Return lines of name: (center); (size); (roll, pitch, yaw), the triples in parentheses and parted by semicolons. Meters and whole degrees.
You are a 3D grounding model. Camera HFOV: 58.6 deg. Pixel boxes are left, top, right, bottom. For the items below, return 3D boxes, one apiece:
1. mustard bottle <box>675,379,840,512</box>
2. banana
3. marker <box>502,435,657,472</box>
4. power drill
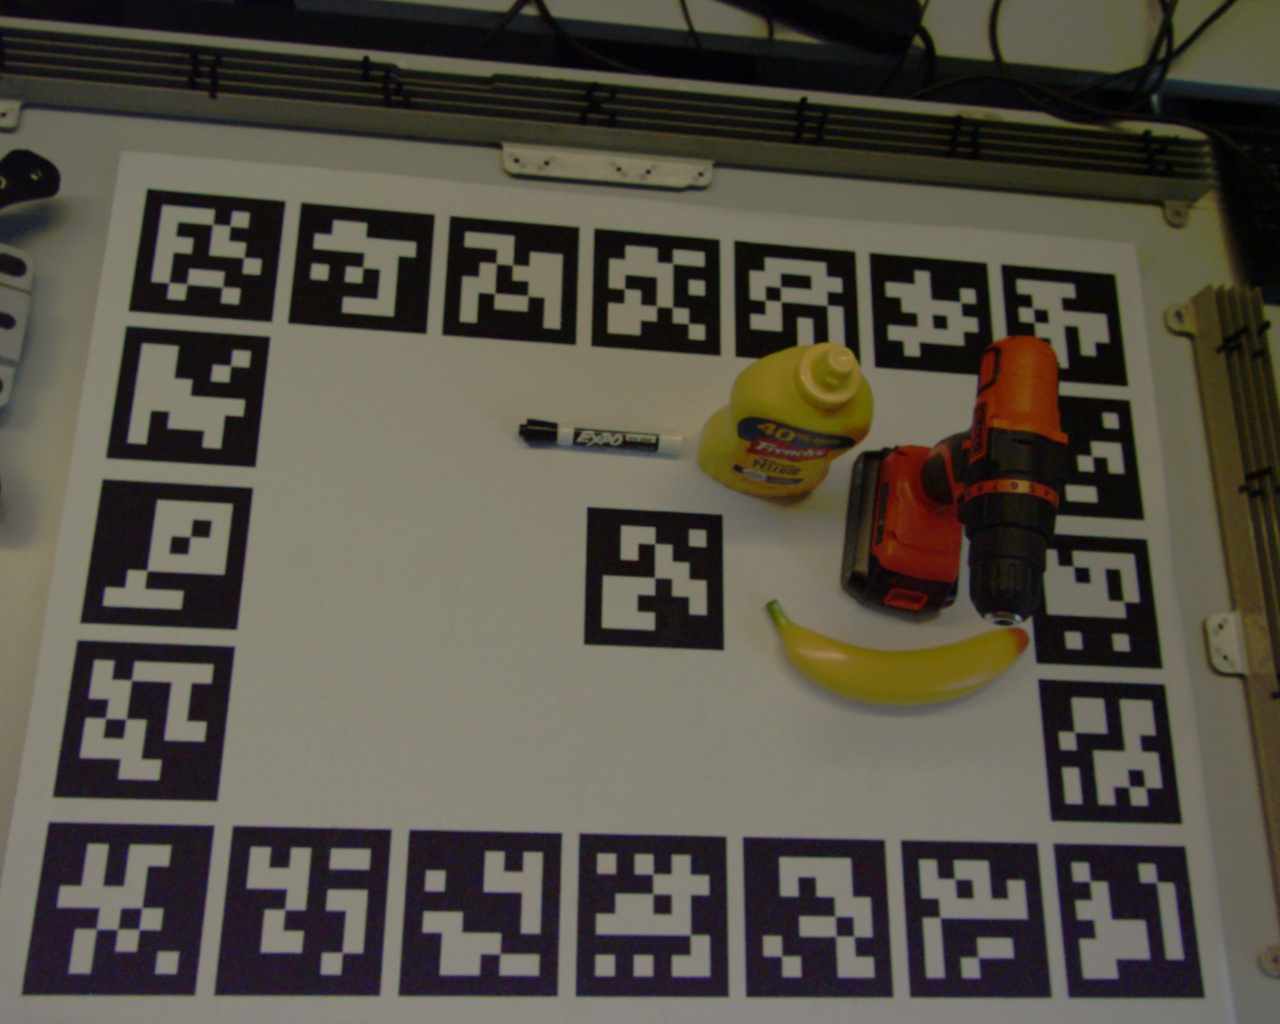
mustard bottle: (0.091, -0.051, 0.825); (0.096, 0.192, 0.058); (14, 74, -7)
banana: (0.170, 0.121, 0.873); (0.197, 0.039, 0.074); (11, 76, -4)
marker: (-0.048, -0.046, 0.893); (0.120, 0.020, 0.020); (5, 76, -7)
power drill: (0.197, 0.013, 0.805); (0.057, 0.187, 0.184); (17, 71, -7)
